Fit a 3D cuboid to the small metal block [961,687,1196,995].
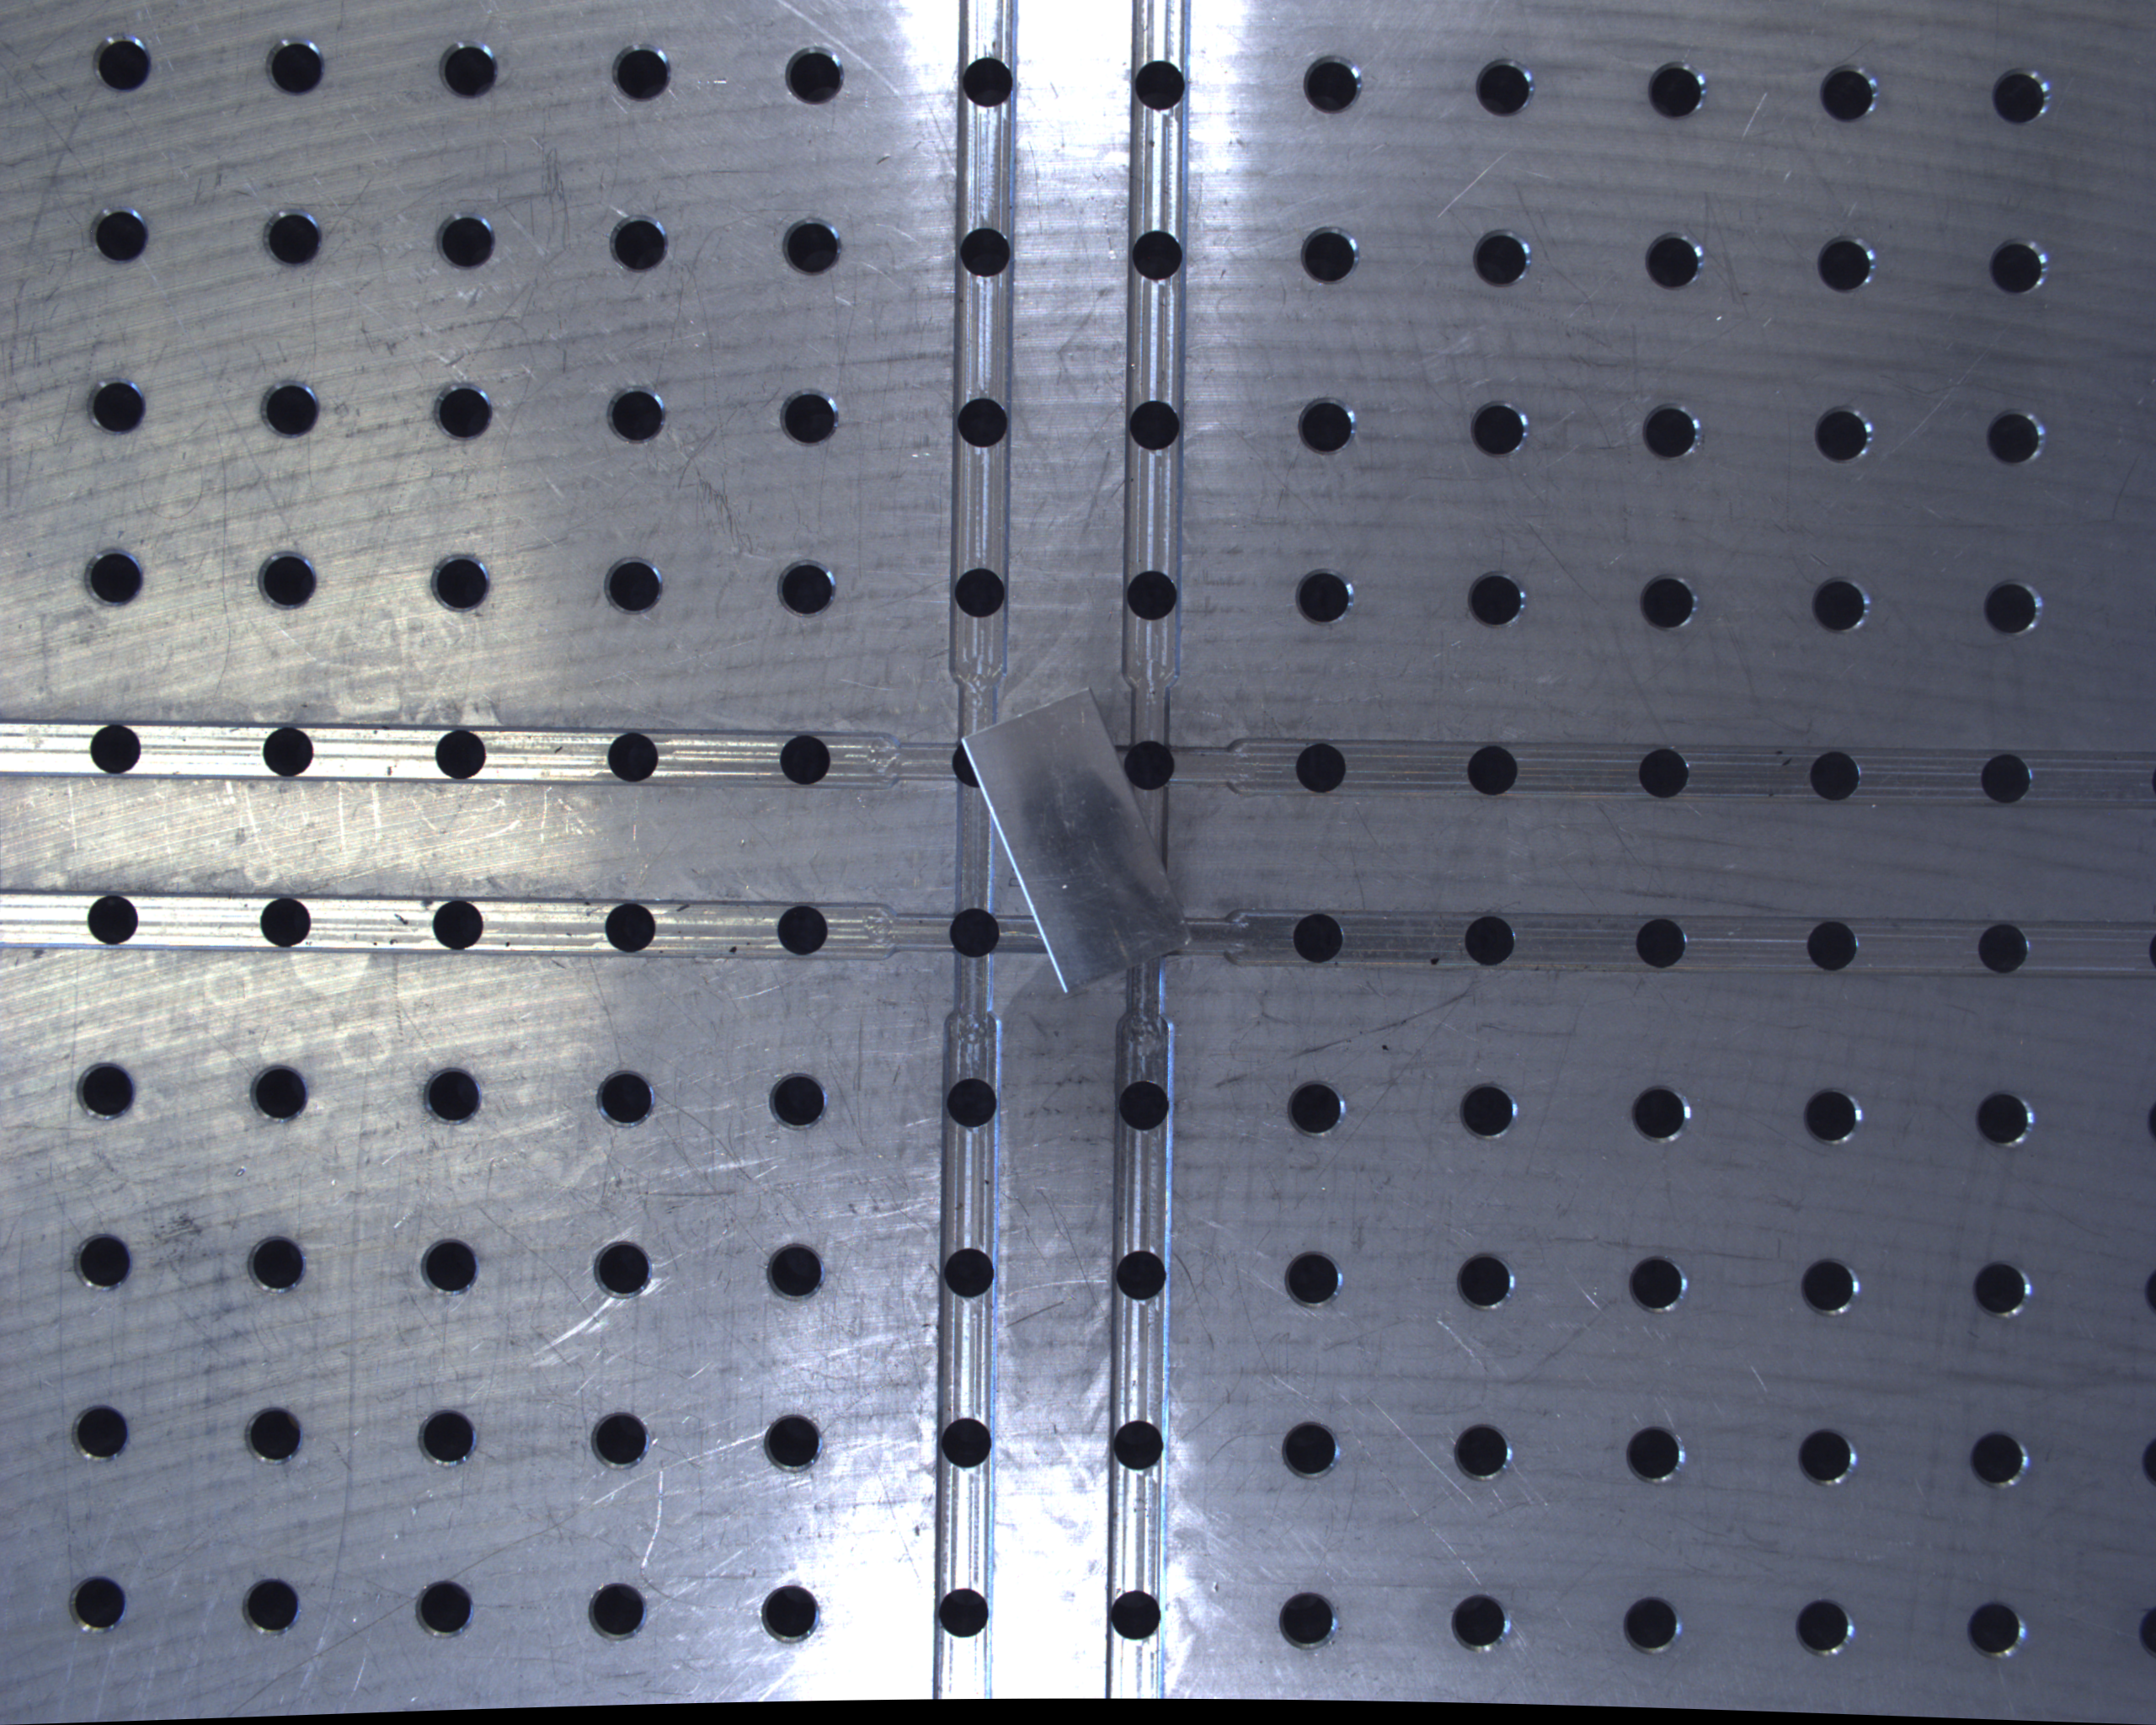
[{"bbox_3d":[0.000,-0.004,0.401,0.025,0.050,0.050,-22,91,0],"label":"small metal block"}]
